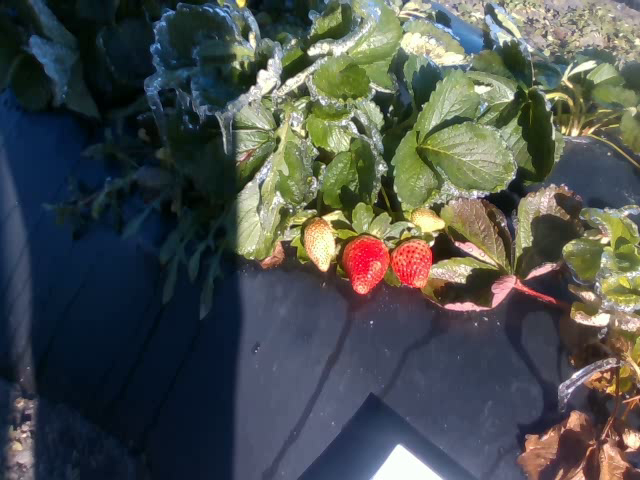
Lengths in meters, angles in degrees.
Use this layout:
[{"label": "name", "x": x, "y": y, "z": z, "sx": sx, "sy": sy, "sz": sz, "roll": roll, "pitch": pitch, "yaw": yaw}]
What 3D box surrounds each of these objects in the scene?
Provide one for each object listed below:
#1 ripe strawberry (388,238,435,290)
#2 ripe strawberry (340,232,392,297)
[{"label": "ripe strawberry", "x": 0.070, "y": 0.019, "z": 0.434, "sx": 0.036, "sy": 0.041, "sz": 0.030, "roll": -27, "pitch": -24, "yaw": 5}, {"label": "ripe strawberry", "x": 0.032, "y": 0.024, "z": 0.423, "sx": 0.036, "sy": 0.040, "sz": 0.052, "roll": -4, "pitch": 37, "yaw": 11}]
